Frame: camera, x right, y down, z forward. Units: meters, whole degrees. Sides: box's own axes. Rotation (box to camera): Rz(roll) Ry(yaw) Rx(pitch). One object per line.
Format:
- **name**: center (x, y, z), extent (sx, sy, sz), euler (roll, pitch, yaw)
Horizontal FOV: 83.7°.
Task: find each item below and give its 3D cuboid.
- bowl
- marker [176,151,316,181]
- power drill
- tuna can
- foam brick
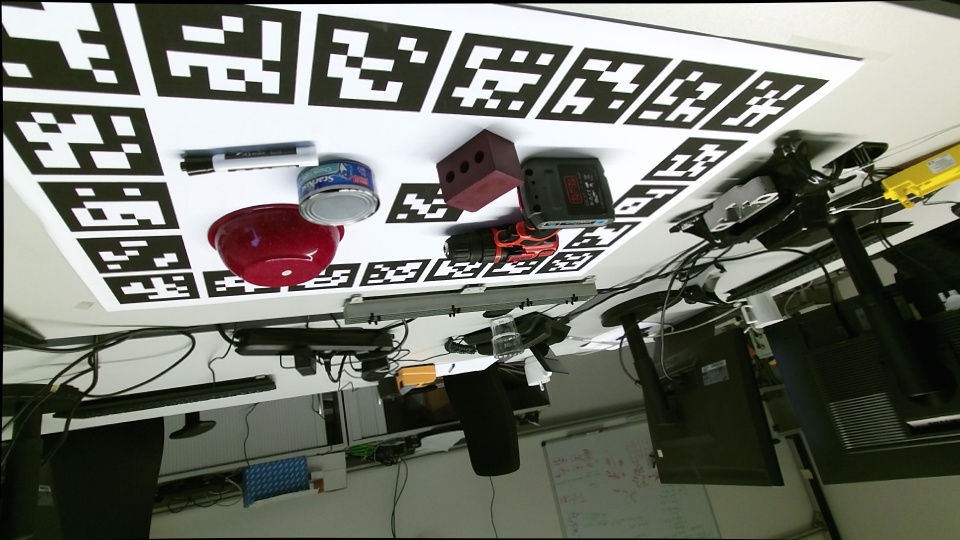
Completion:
- **bowl**: center (-0.244, -0.020, 0.671), extent (0.162, 0.055, 0.162), euler (-12, 167, -3)
- **marker**: center (-0.218, -0.098, 0.504), extent (0.121, 0.019, 0.020), euler (-8, 157, -14)
- **power drill**: center (0.069, -0.066, 0.722), extent (0.185, 0.057, 0.187), euler (-1, 159, -20)
- **tuna can**: center (-0.155, -0.076, 0.580), extent (0.086, 0.033, 0.086), euler (-10, 158, -4)
- **foam brick**: center (-0.001, -0.109, 0.583), extent (0.051, 0.052, 0.078), euler (10, 148, -44)
